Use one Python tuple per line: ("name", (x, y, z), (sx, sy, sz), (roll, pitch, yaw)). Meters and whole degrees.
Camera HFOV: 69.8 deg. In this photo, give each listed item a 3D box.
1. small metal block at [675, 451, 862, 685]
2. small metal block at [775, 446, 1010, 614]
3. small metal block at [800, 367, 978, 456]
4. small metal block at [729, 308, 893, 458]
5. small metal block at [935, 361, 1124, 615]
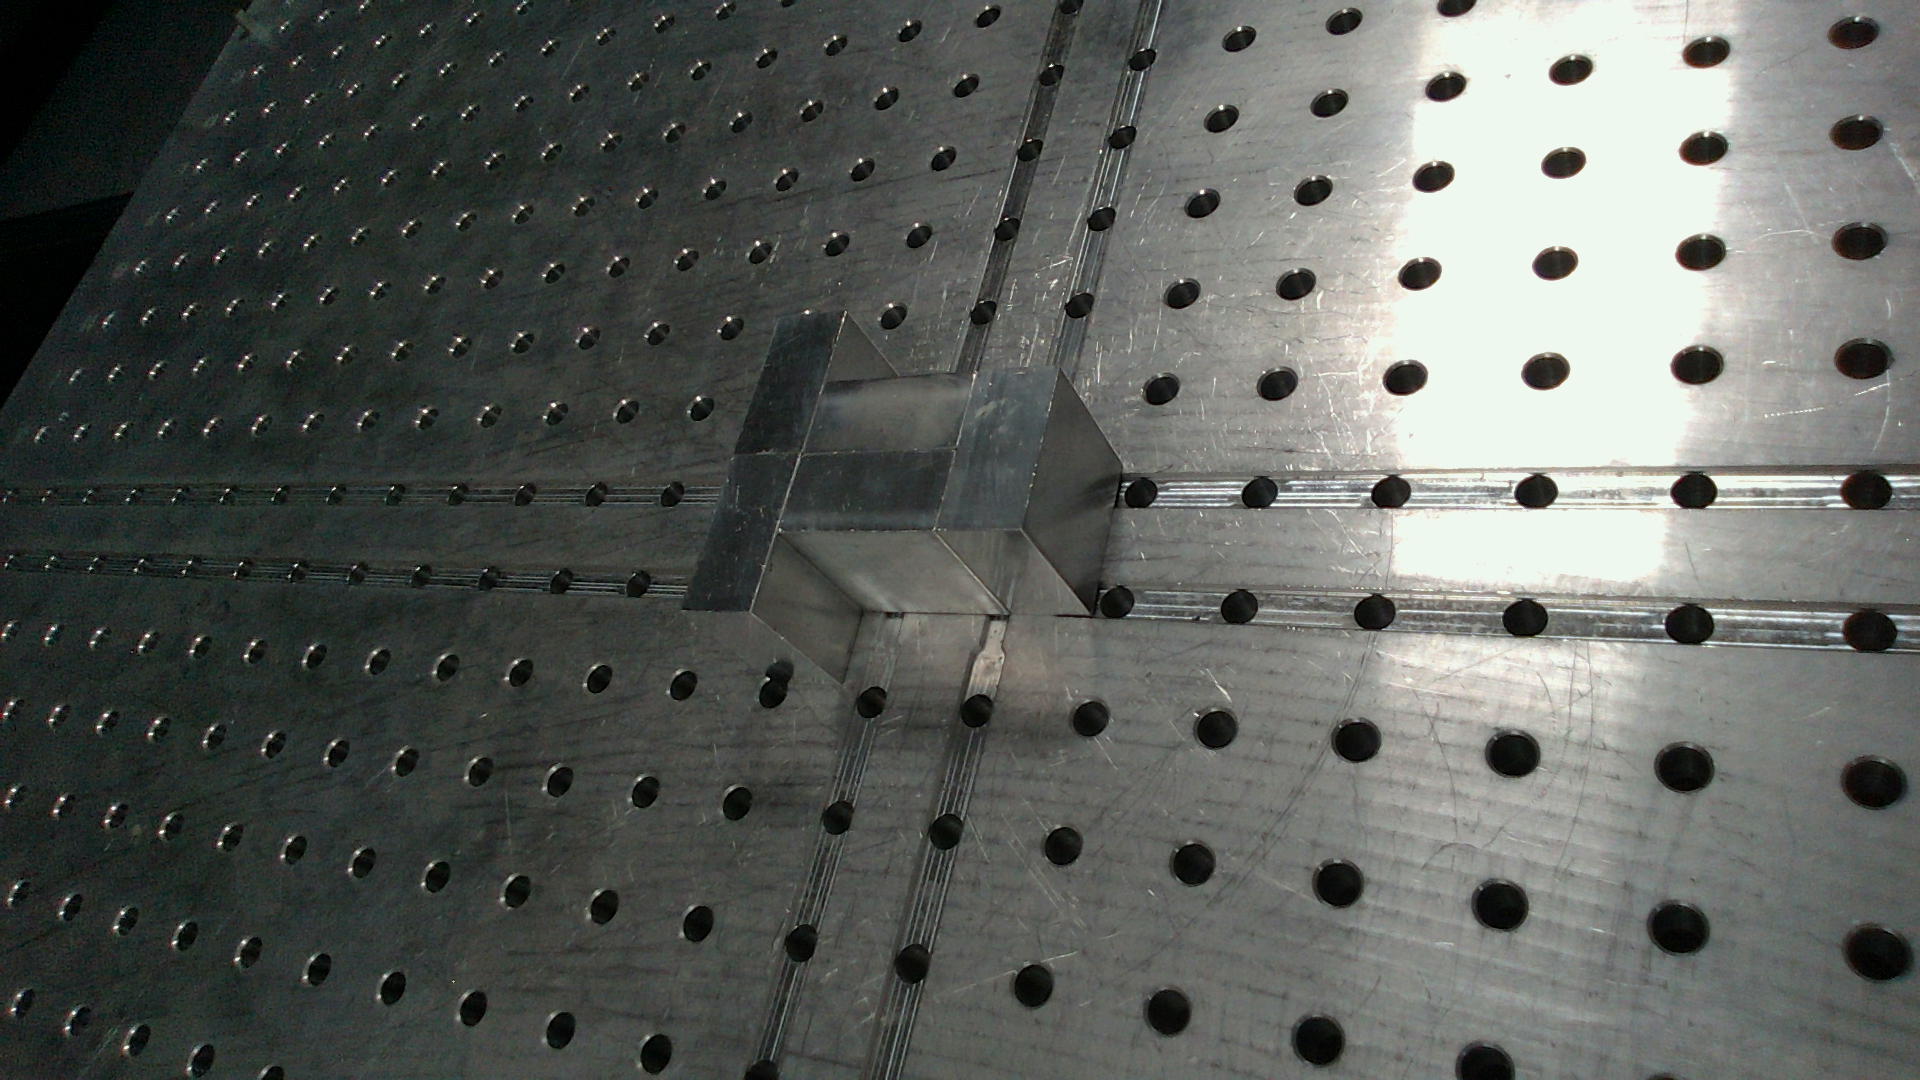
("small metal block", (-0.051, 0.009, 0.402), (0.025, 0.050, 0.050), (0, 61, 28))
("small metal block", (-0.015, -0.002, 0.389), (0.050, 0.050, 0.025), (0, 61, 28))
("small metal block", (-0.010, -0.024, 0.400), (0.050, 0.050, 0.025), (0, 61, 28))
("small metal block", (-0.040, -0.035, 0.423), (0.025, 0.050, 0.050), (0, 61, 28))
("small metal block", (0.021, -0.013, 0.377), (0.025, 0.050, 0.050), (0, 61, 28))
